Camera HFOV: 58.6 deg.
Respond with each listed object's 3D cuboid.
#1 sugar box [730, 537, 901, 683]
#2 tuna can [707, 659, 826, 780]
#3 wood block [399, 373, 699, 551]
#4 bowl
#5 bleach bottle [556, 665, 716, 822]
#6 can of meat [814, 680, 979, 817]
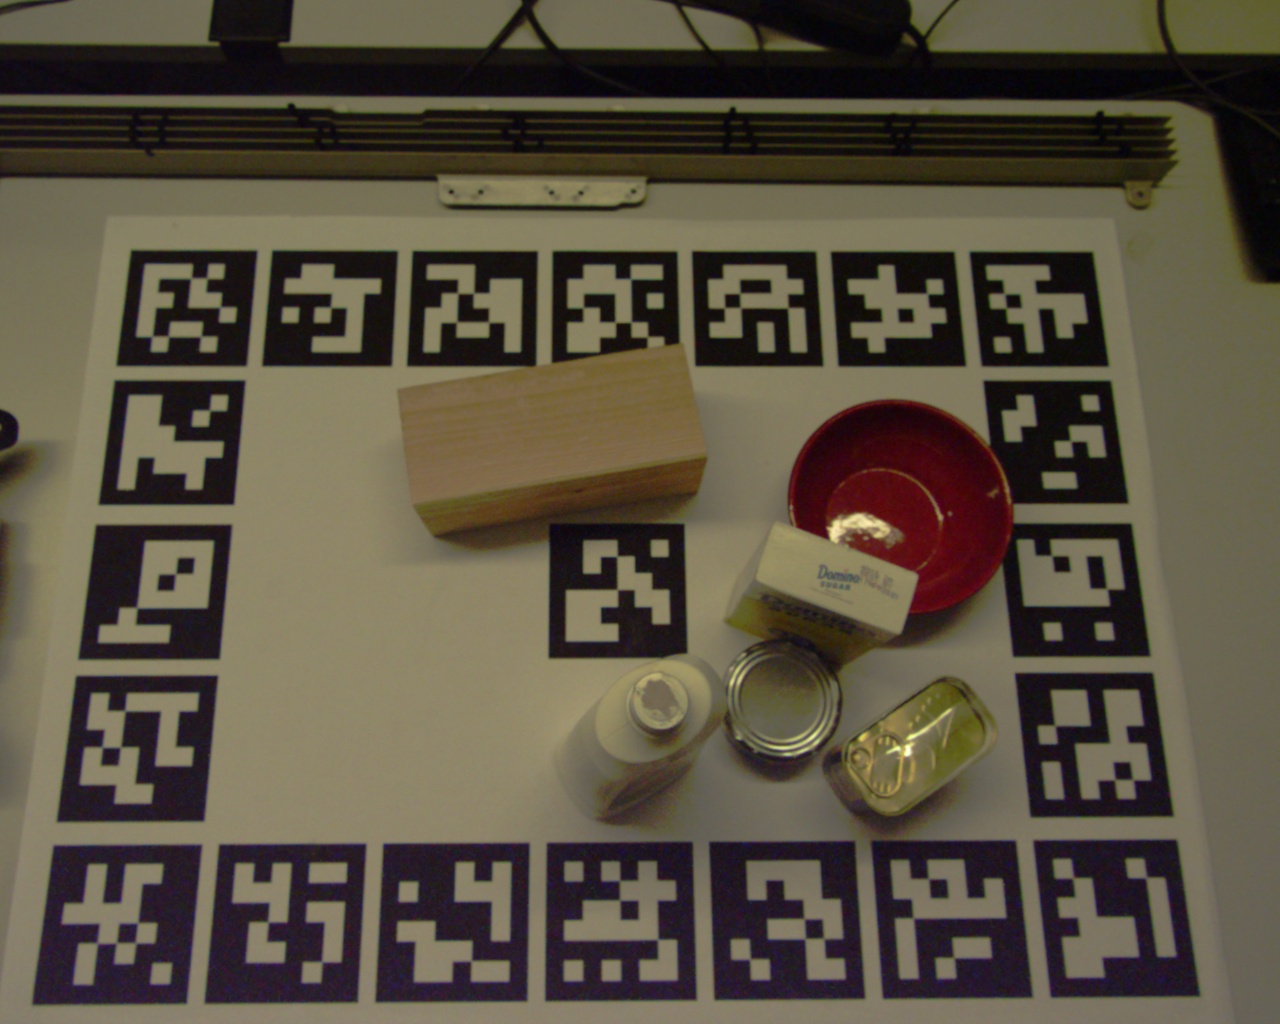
[{"bbox_3d":[0.114,0.072,0.777,0.093,0.176,0.045,20,76,8],"label":"sugar box"},{"bbox_3d":[0.089,0.151,0.827,0.086,0.033,0.086,0,76,0],"label":"tuna can"},{"bbox_3d":[-0.069,-0.036,0.859,0.206,0.090,0.091,-9,78,-5],"label":"wood block"},{"bbox_3d":[0.190,0.010,0.863,0.162,0.055,0.162,-1,73,3],"label":"bowl"},{"bbox_3d":[-0.006,0.144,0.718,0.102,0.250,0.068,-25,75,-9],"label":"bleach bottle"},{"bbox_3d":[0.176,0.170,0.803,0.101,0.083,0.058,-30,73,-11],"label":"can of meat"}]
